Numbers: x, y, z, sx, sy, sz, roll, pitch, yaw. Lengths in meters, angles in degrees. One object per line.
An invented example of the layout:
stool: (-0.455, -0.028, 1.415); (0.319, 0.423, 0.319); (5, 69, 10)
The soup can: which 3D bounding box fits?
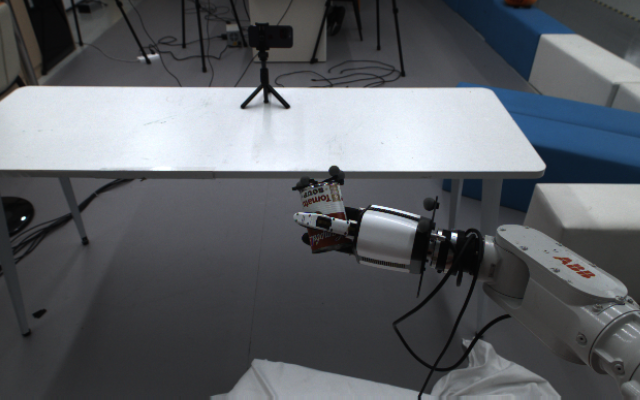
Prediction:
soup can: (0.009, 0.030, 0.773); (0.067, 0.067, 0.101); (-10, 80, -16)
